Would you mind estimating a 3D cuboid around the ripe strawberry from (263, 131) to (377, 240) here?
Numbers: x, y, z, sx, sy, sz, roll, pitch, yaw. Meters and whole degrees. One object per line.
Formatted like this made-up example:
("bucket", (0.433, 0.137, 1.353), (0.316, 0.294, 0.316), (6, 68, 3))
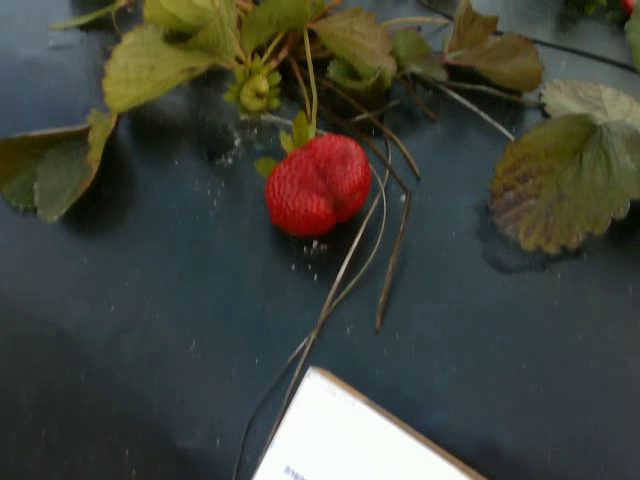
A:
("ripe strawberry", (-0.001, -0.005, 0.068), (0.017, 0.014, 0.015), (-40, 26, 8))
